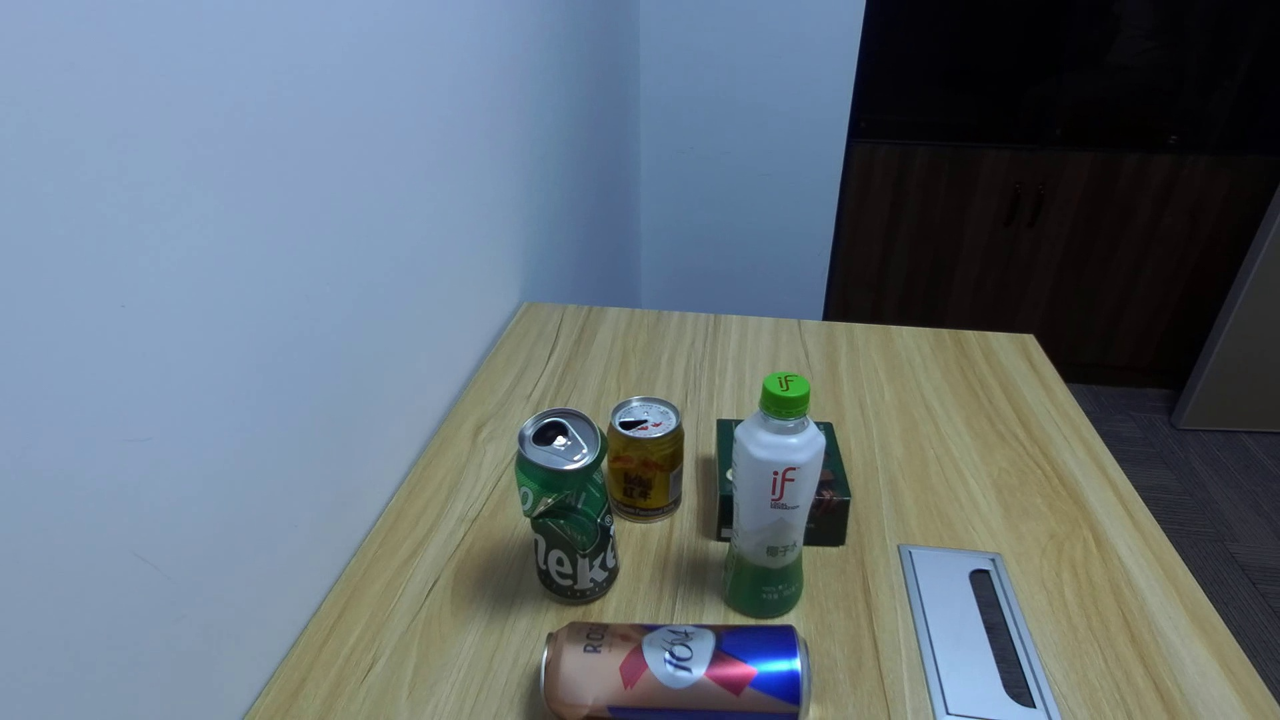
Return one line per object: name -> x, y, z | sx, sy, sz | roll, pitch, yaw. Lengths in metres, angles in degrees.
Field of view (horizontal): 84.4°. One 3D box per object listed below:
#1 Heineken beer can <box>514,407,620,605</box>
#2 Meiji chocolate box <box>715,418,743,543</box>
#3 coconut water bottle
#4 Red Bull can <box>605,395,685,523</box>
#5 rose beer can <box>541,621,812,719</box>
Heineken beer can -> -0.052, 0.108, 0.522 | 0.067, 0.159, 0.078 | -12, 38, -13
Meiji chocolate box -> 0.120, 0.104, 0.617 | 0.109, 0.056, 0.110 | 1, 30, 3
coconut water bottle -> 0.094, 0.096, 0.499 | 0.063, 0.189, 0.063 | 1, 30, 0
Red Bull can -> 0.005, 0.085, 0.610 | 0.069, 0.092, 0.069 | 0, 30, 0
rose beer can -> 0.023, 0.199, 0.451 | 0.168, 0.069, 0.070 | 0, 50, 5
